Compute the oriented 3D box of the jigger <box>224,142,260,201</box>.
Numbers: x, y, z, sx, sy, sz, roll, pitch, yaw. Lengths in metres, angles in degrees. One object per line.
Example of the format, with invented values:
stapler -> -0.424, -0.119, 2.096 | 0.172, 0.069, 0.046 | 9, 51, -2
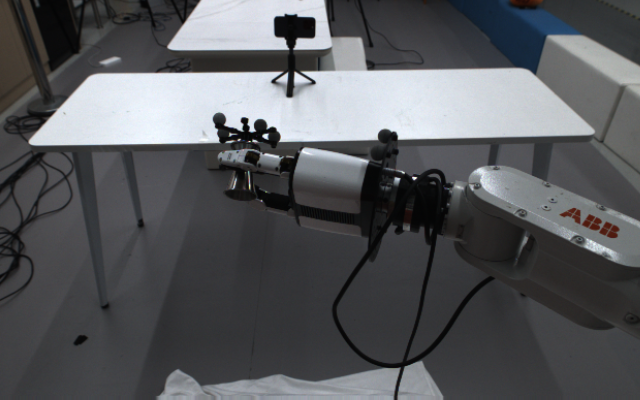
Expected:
jigger -> -0.100, -0.039, 0.624 | 0.043, 0.043, 0.071 | 3, 72, 1
